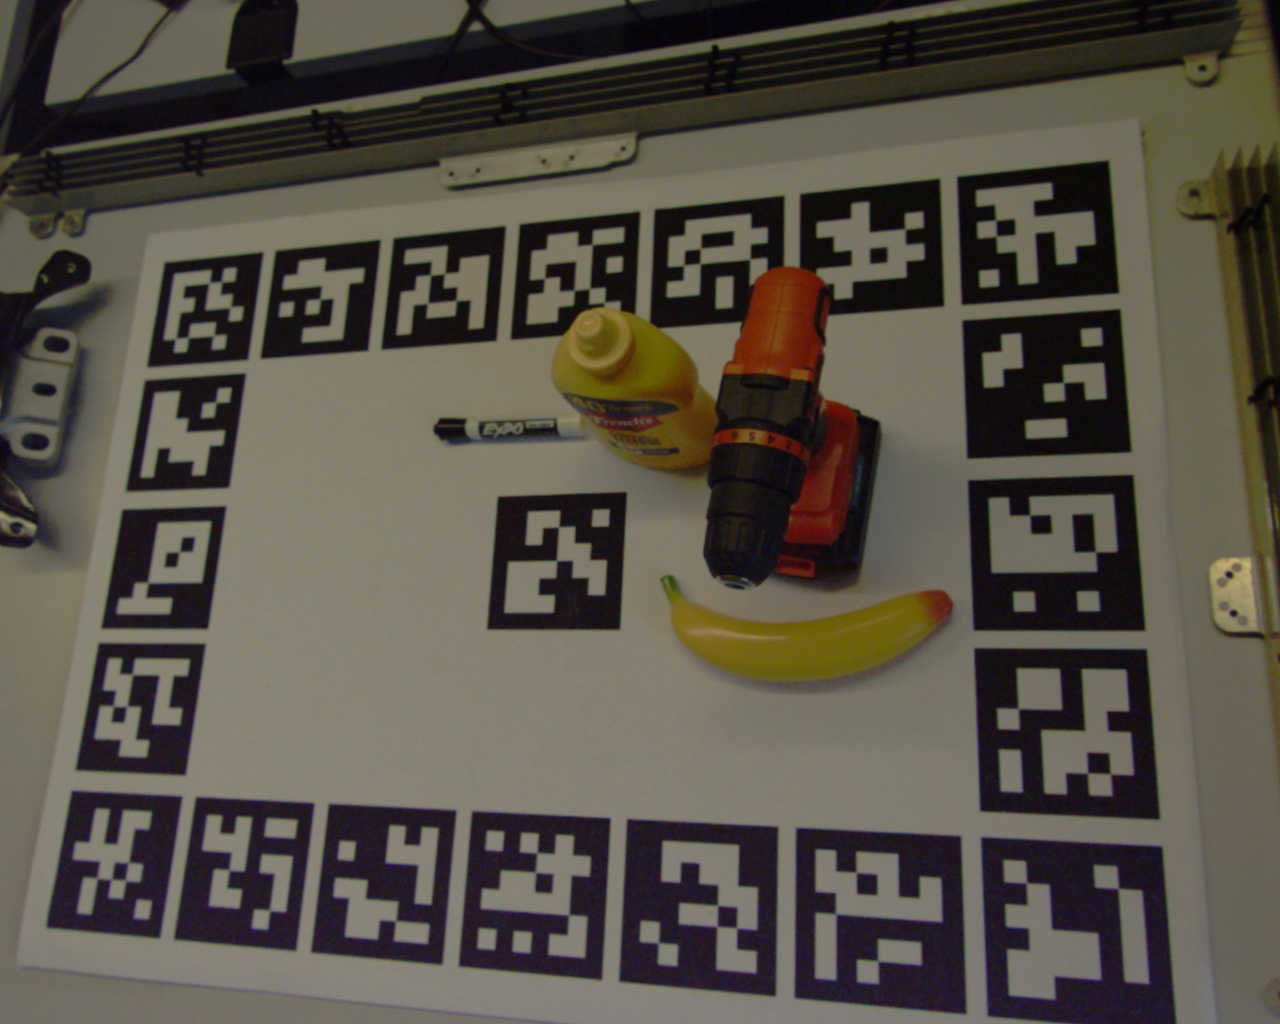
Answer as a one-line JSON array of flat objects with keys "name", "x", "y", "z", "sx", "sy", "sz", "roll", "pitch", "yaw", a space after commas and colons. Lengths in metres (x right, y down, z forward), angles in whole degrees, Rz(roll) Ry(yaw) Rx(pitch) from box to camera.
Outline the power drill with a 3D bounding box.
[{"name": "power drill", "x": 0.086, "y": -0.015, "z": 0.740, "sx": 0.058, "sy": 0.185, "sz": 0.184, "roll": 12, "pitch": 77, "yaw": 16}]

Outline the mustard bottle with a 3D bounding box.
[{"name": "mustard bottle", "x": -0.009, "y": -0.071, "z": 0.801, "sx": 0.097, "sy": 0.190, "sz": 0.058, "roll": 10, "pitch": 79, "yaw": 17}]

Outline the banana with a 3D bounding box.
[{"name": "banana", "x": 0.098, "y": 0.093, "z": 0.811, "sx": 0.199, "sy": 0.038, "sz": 0.074, "roll": 6, "pitch": 80, "yaw": 20}]

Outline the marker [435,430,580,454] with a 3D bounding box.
[{"name": "marker", "x": -0.109, "y": -0.056, "z": 0.919, "sx": 0.122, "sy": 0.019, "sz": 0.019, "roll": 0, "pitch": 77, "yaw": 17}]
